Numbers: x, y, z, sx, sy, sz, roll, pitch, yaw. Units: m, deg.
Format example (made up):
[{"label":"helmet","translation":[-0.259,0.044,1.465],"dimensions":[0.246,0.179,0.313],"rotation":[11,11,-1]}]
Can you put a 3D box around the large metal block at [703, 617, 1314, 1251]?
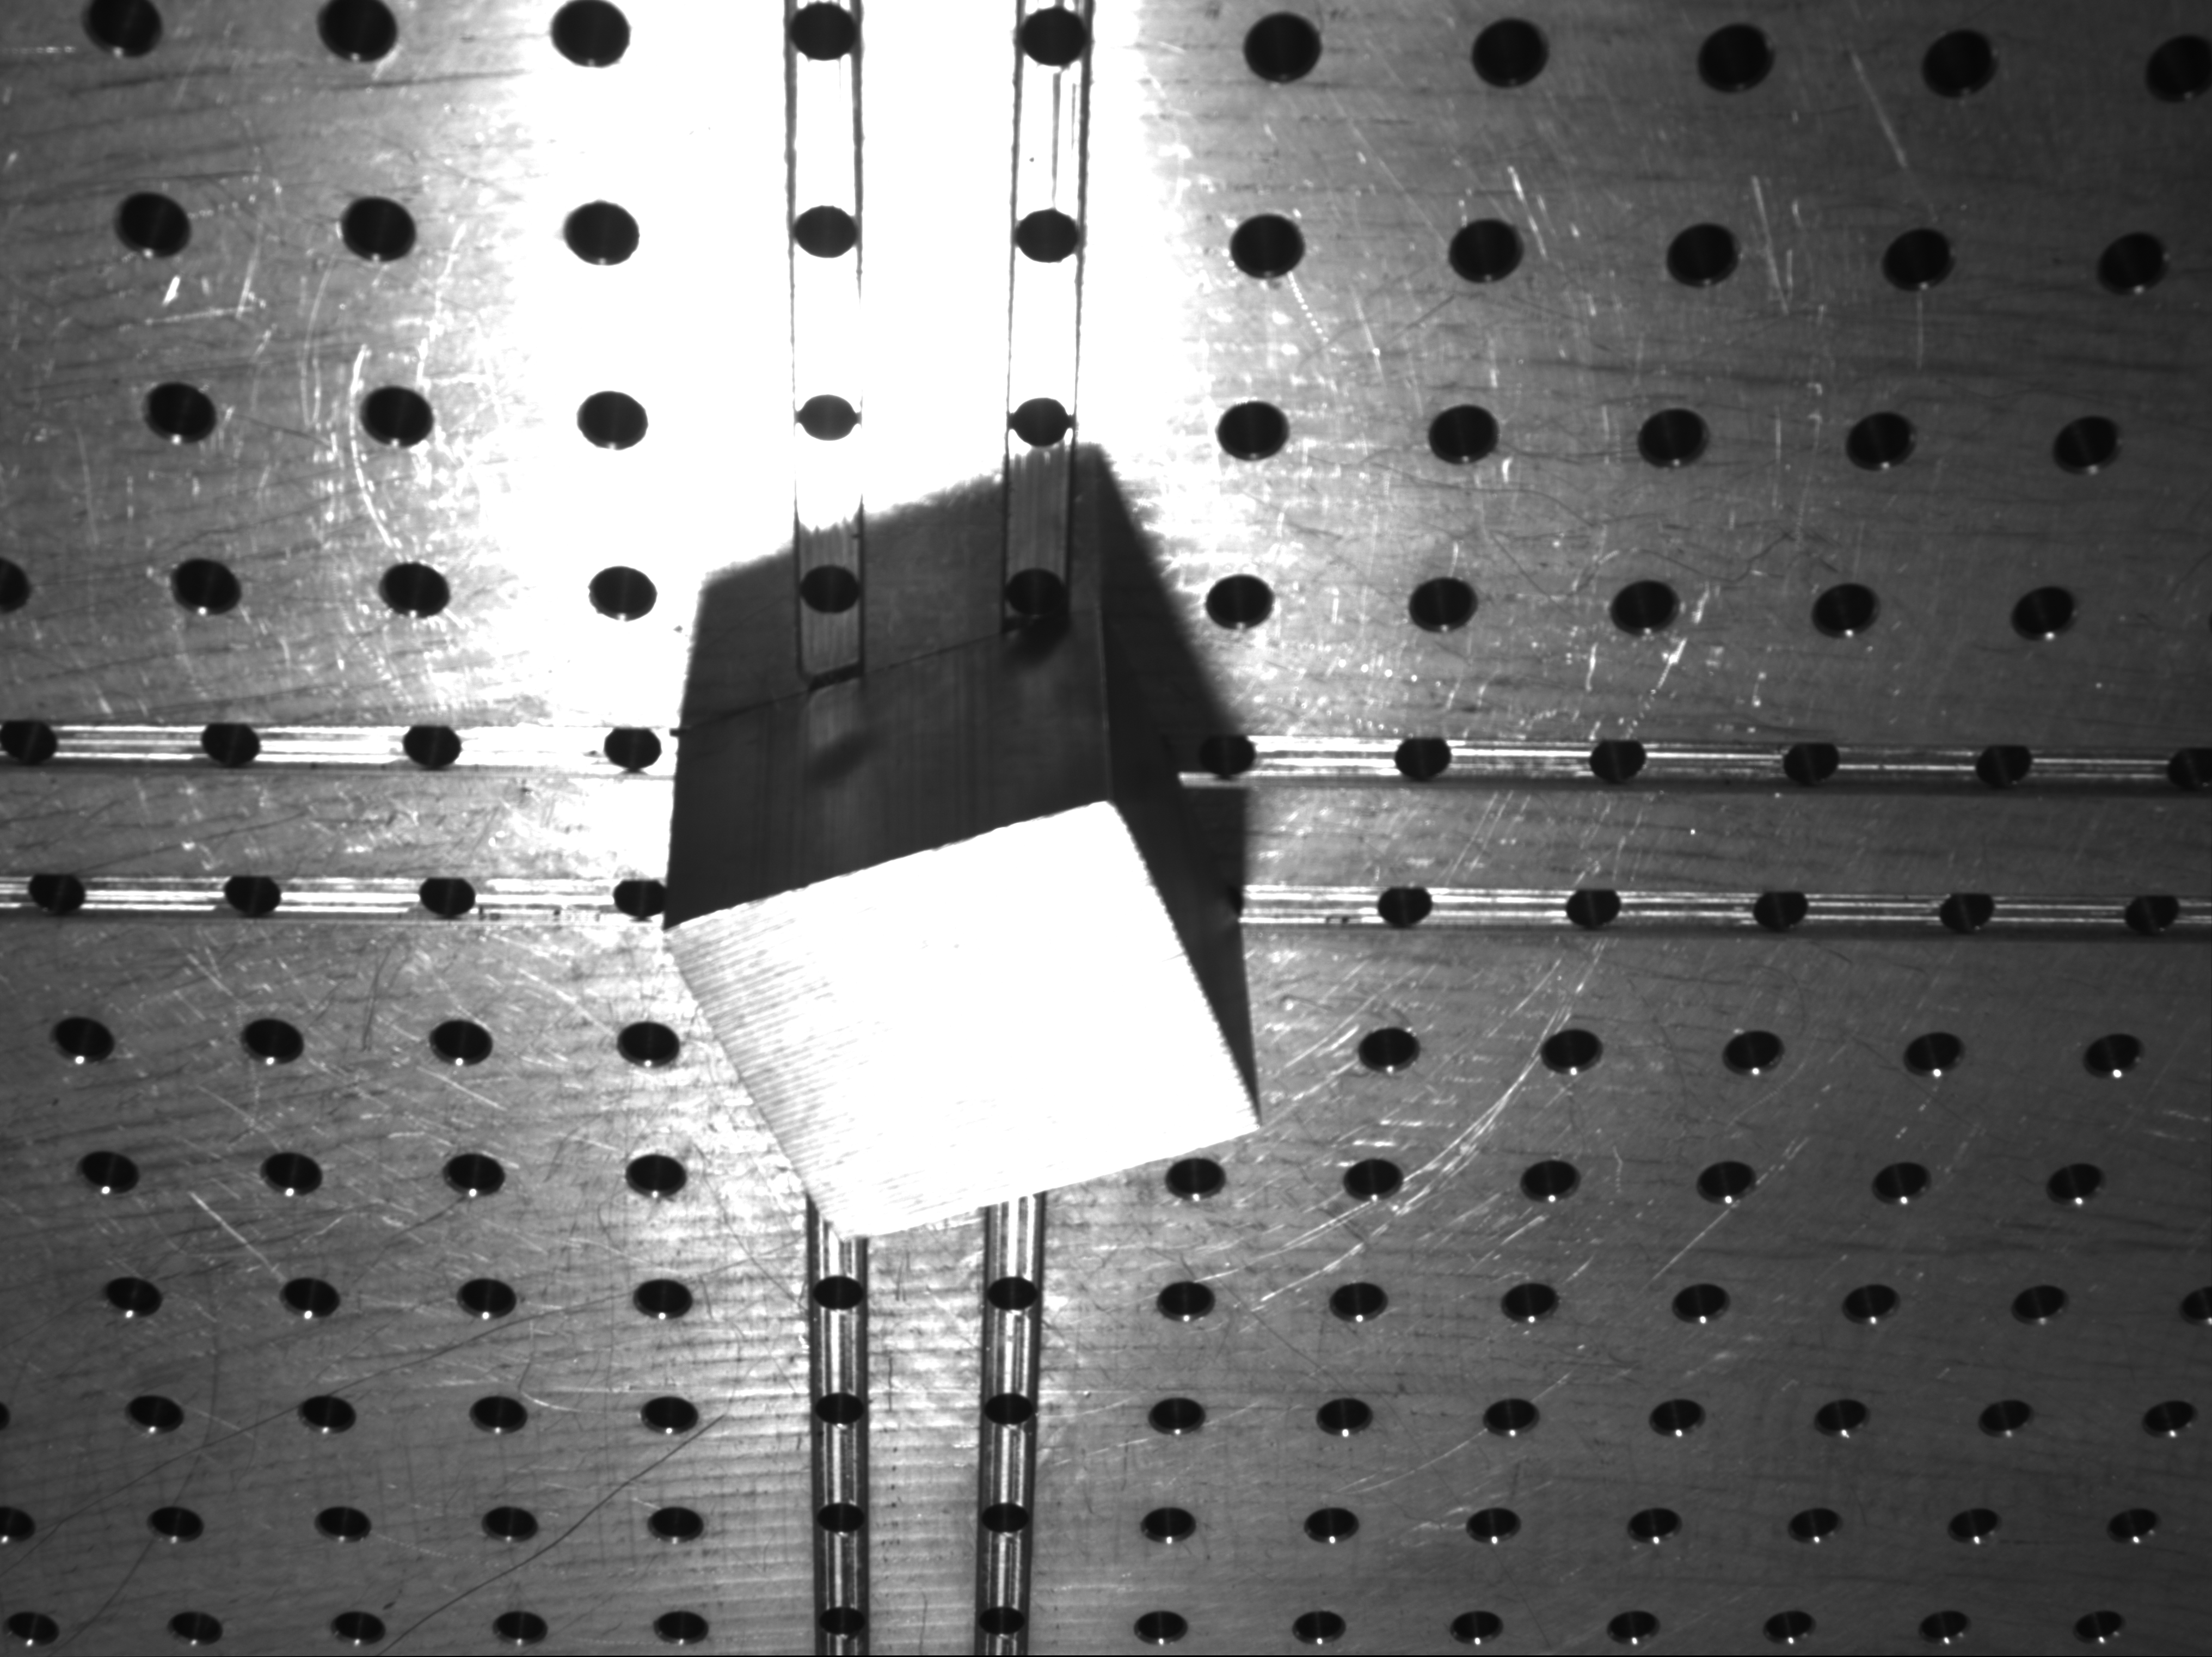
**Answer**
[{"label":"large metal block","translation":[-0.016,0.020,0.637],"dimensions":[0.080,0.050,0.080],"rotation":[-16,129,11]}]
